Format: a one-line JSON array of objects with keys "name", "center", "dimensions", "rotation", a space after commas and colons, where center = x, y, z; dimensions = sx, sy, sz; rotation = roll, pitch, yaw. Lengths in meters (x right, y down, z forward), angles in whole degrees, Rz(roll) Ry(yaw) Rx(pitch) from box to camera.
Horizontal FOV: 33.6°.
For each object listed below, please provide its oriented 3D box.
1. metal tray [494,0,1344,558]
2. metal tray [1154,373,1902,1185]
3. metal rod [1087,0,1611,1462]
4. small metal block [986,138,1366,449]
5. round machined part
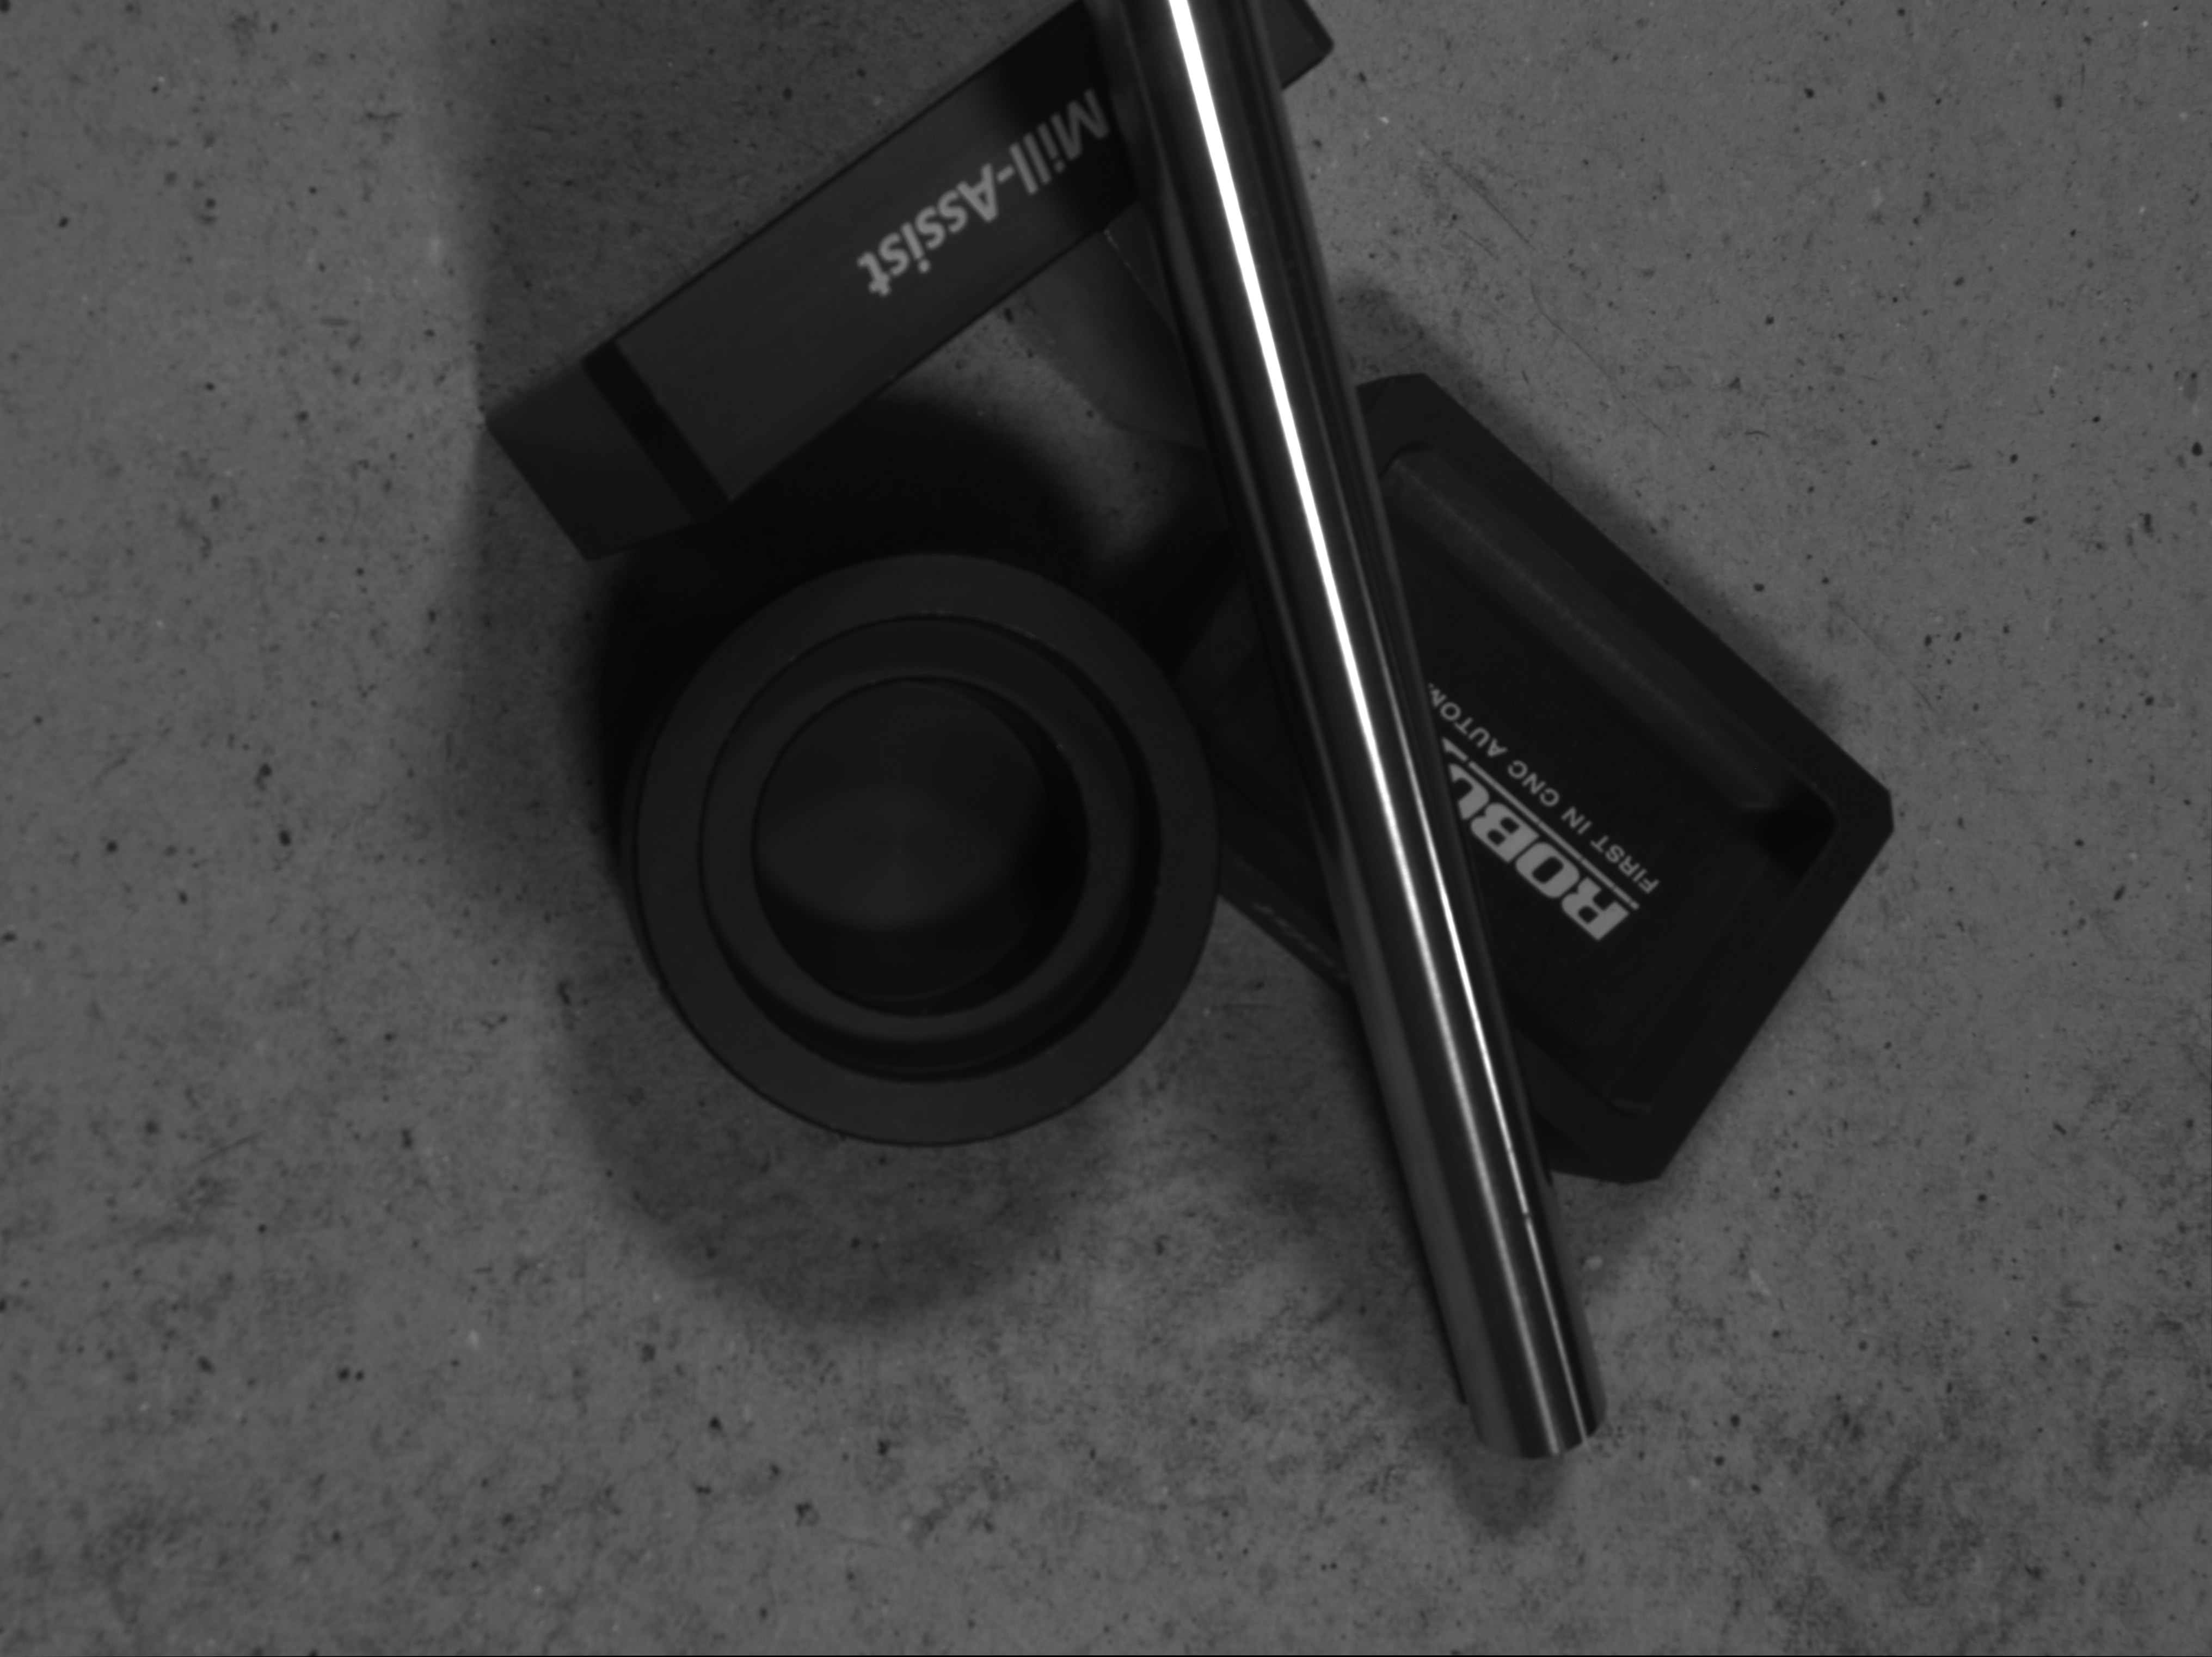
[{"name": "metal tray", "center": [-0.032, -0.096, 0.597], "dimensions": [0.130, 0.090, 0.030], "rotation": [-39, 102, -16]}, {"name": "metal tray", "center": [0.072, -0.008, 0.667], "dimensions": [0.130, 0.030, 0.090], "rotation": [40, 77, -16]}, {"name": "metal rod", "center": [0.042, -0.017, 0.602], "dimensions": [0.025, 0.025, 0.300], "rotation": [-27, 121, -18]}, {"name": "small metal block", "center": [0.010, -0.093, 0.629], "dimensions": [0.025, 0.050, 0.050], "rotation": [-44, 118, -12]}, {"name": "round machined part", "center": [-0.032, 0.003, 0.619], "dimensions": [0.098, 0.042, 0.098], "rotation": [-1, 93, -14]}]
